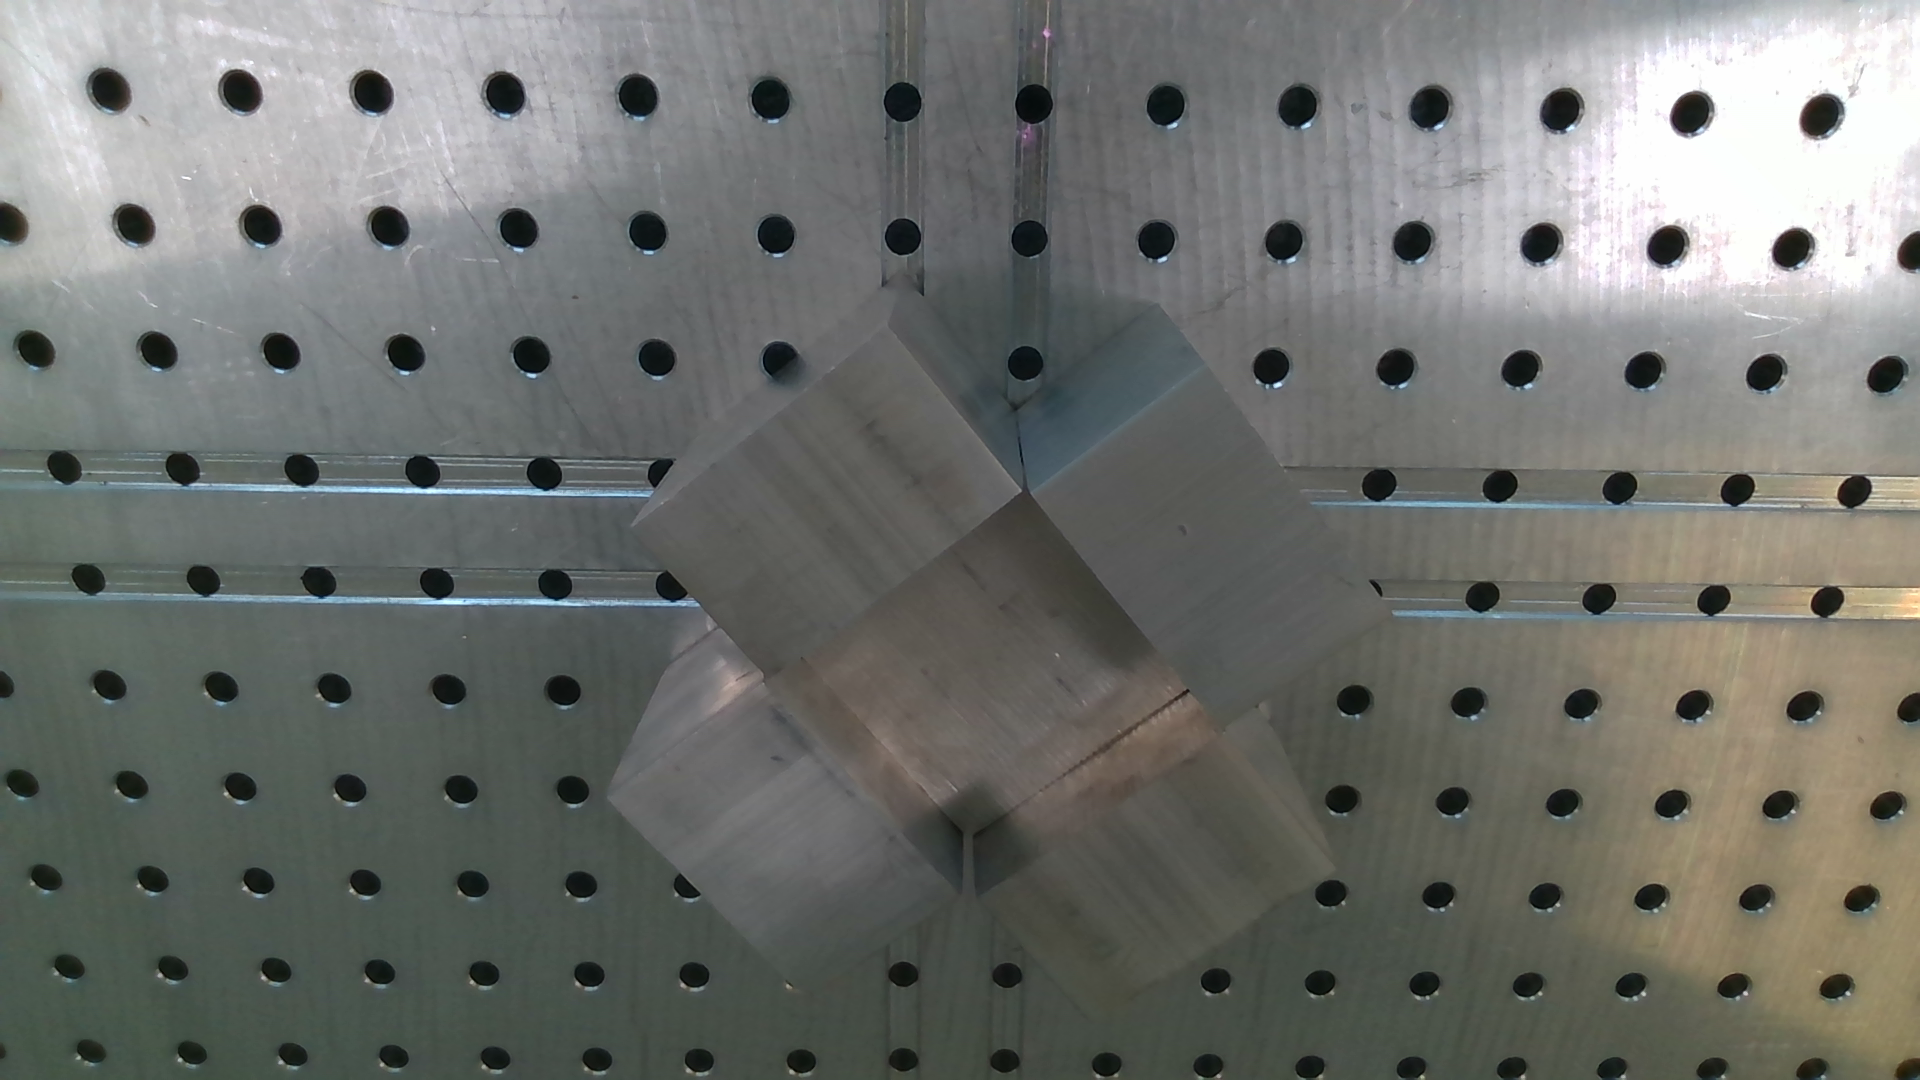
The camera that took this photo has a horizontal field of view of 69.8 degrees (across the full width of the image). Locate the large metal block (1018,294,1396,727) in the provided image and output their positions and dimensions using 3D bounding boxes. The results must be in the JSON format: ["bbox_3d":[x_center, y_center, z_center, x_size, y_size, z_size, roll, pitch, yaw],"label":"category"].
[{"bbox_3d":[0.060,-0.011,0.362,0.050,0.080,0.080,-37,106,12],"label":"large metal block"}]

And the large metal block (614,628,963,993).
[{"bbox_3d":[-0.043,0.064,0.391,0.050,0.080,0.080,-36,106,12],"label":"large metal block"}]

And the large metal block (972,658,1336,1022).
[{"bbox_3d":[0.050,0.075,0.394,0.080,0.080,0.050,-37,106,13],"label":"large metal block"}]

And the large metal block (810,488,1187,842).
[{"bbox_3d":[0.009,0.023,0.389,0.080,0.050,0.080,-37,104,11],"label":"large metal block"}]

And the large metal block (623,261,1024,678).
[{"bbox_3d":[-0.032,-0.022,0.358,0.080,0.080,0.050,-37,106,13],"label":"large metal block"}]
